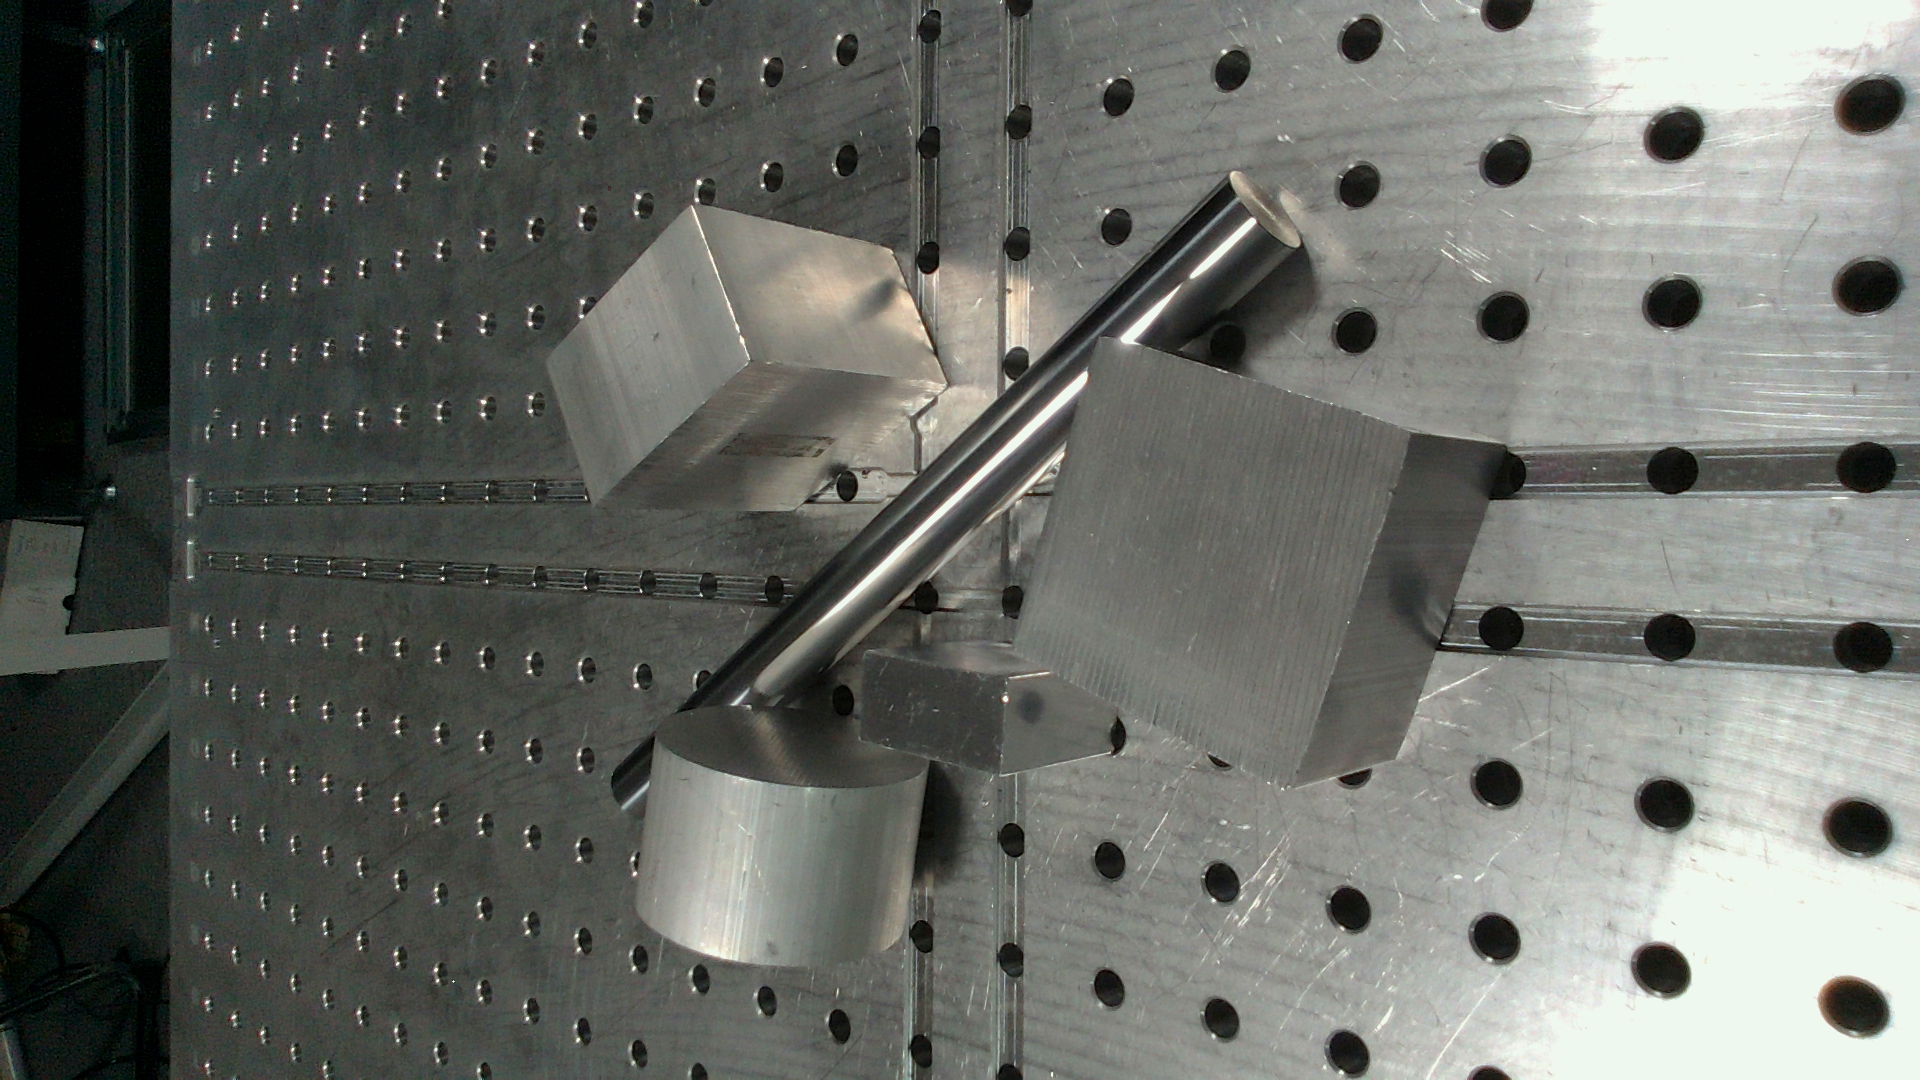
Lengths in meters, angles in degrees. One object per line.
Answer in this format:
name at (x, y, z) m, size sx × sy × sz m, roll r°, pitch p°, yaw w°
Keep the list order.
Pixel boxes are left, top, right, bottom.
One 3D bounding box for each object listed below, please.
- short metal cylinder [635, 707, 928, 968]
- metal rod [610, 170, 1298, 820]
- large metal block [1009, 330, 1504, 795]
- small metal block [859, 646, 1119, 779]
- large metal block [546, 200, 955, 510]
short metal cylinder at (-0.053, 0.084, 0.405) m, size 0.080 × 0.080 × 0.050 m, roll 15°, pitch 100°, yaw 39°
metal rod at (-0.020, 0.004, 0.414) m, size 0.299 × 0.025 × 0.025 m, roll -42°, pitch 64°, yaw 32°
large metal block at (0.067, 0.002, 0.322) m, size 0.080 × 0.050 × 0.080 m, roll 24°, pitch 106°, yaw 37°
small metal block at (0.009, 0.045, 0.375) m, size 0.050 × 0.050 × 0.025 m, roll 7°, pitch 94°, yaw 40°
large metal block at (-0.063, -0.050, 0.416) m, size 0.080 × 0.080 × 0.050 m, roll -36°, pitch 68°, yaw 34°
